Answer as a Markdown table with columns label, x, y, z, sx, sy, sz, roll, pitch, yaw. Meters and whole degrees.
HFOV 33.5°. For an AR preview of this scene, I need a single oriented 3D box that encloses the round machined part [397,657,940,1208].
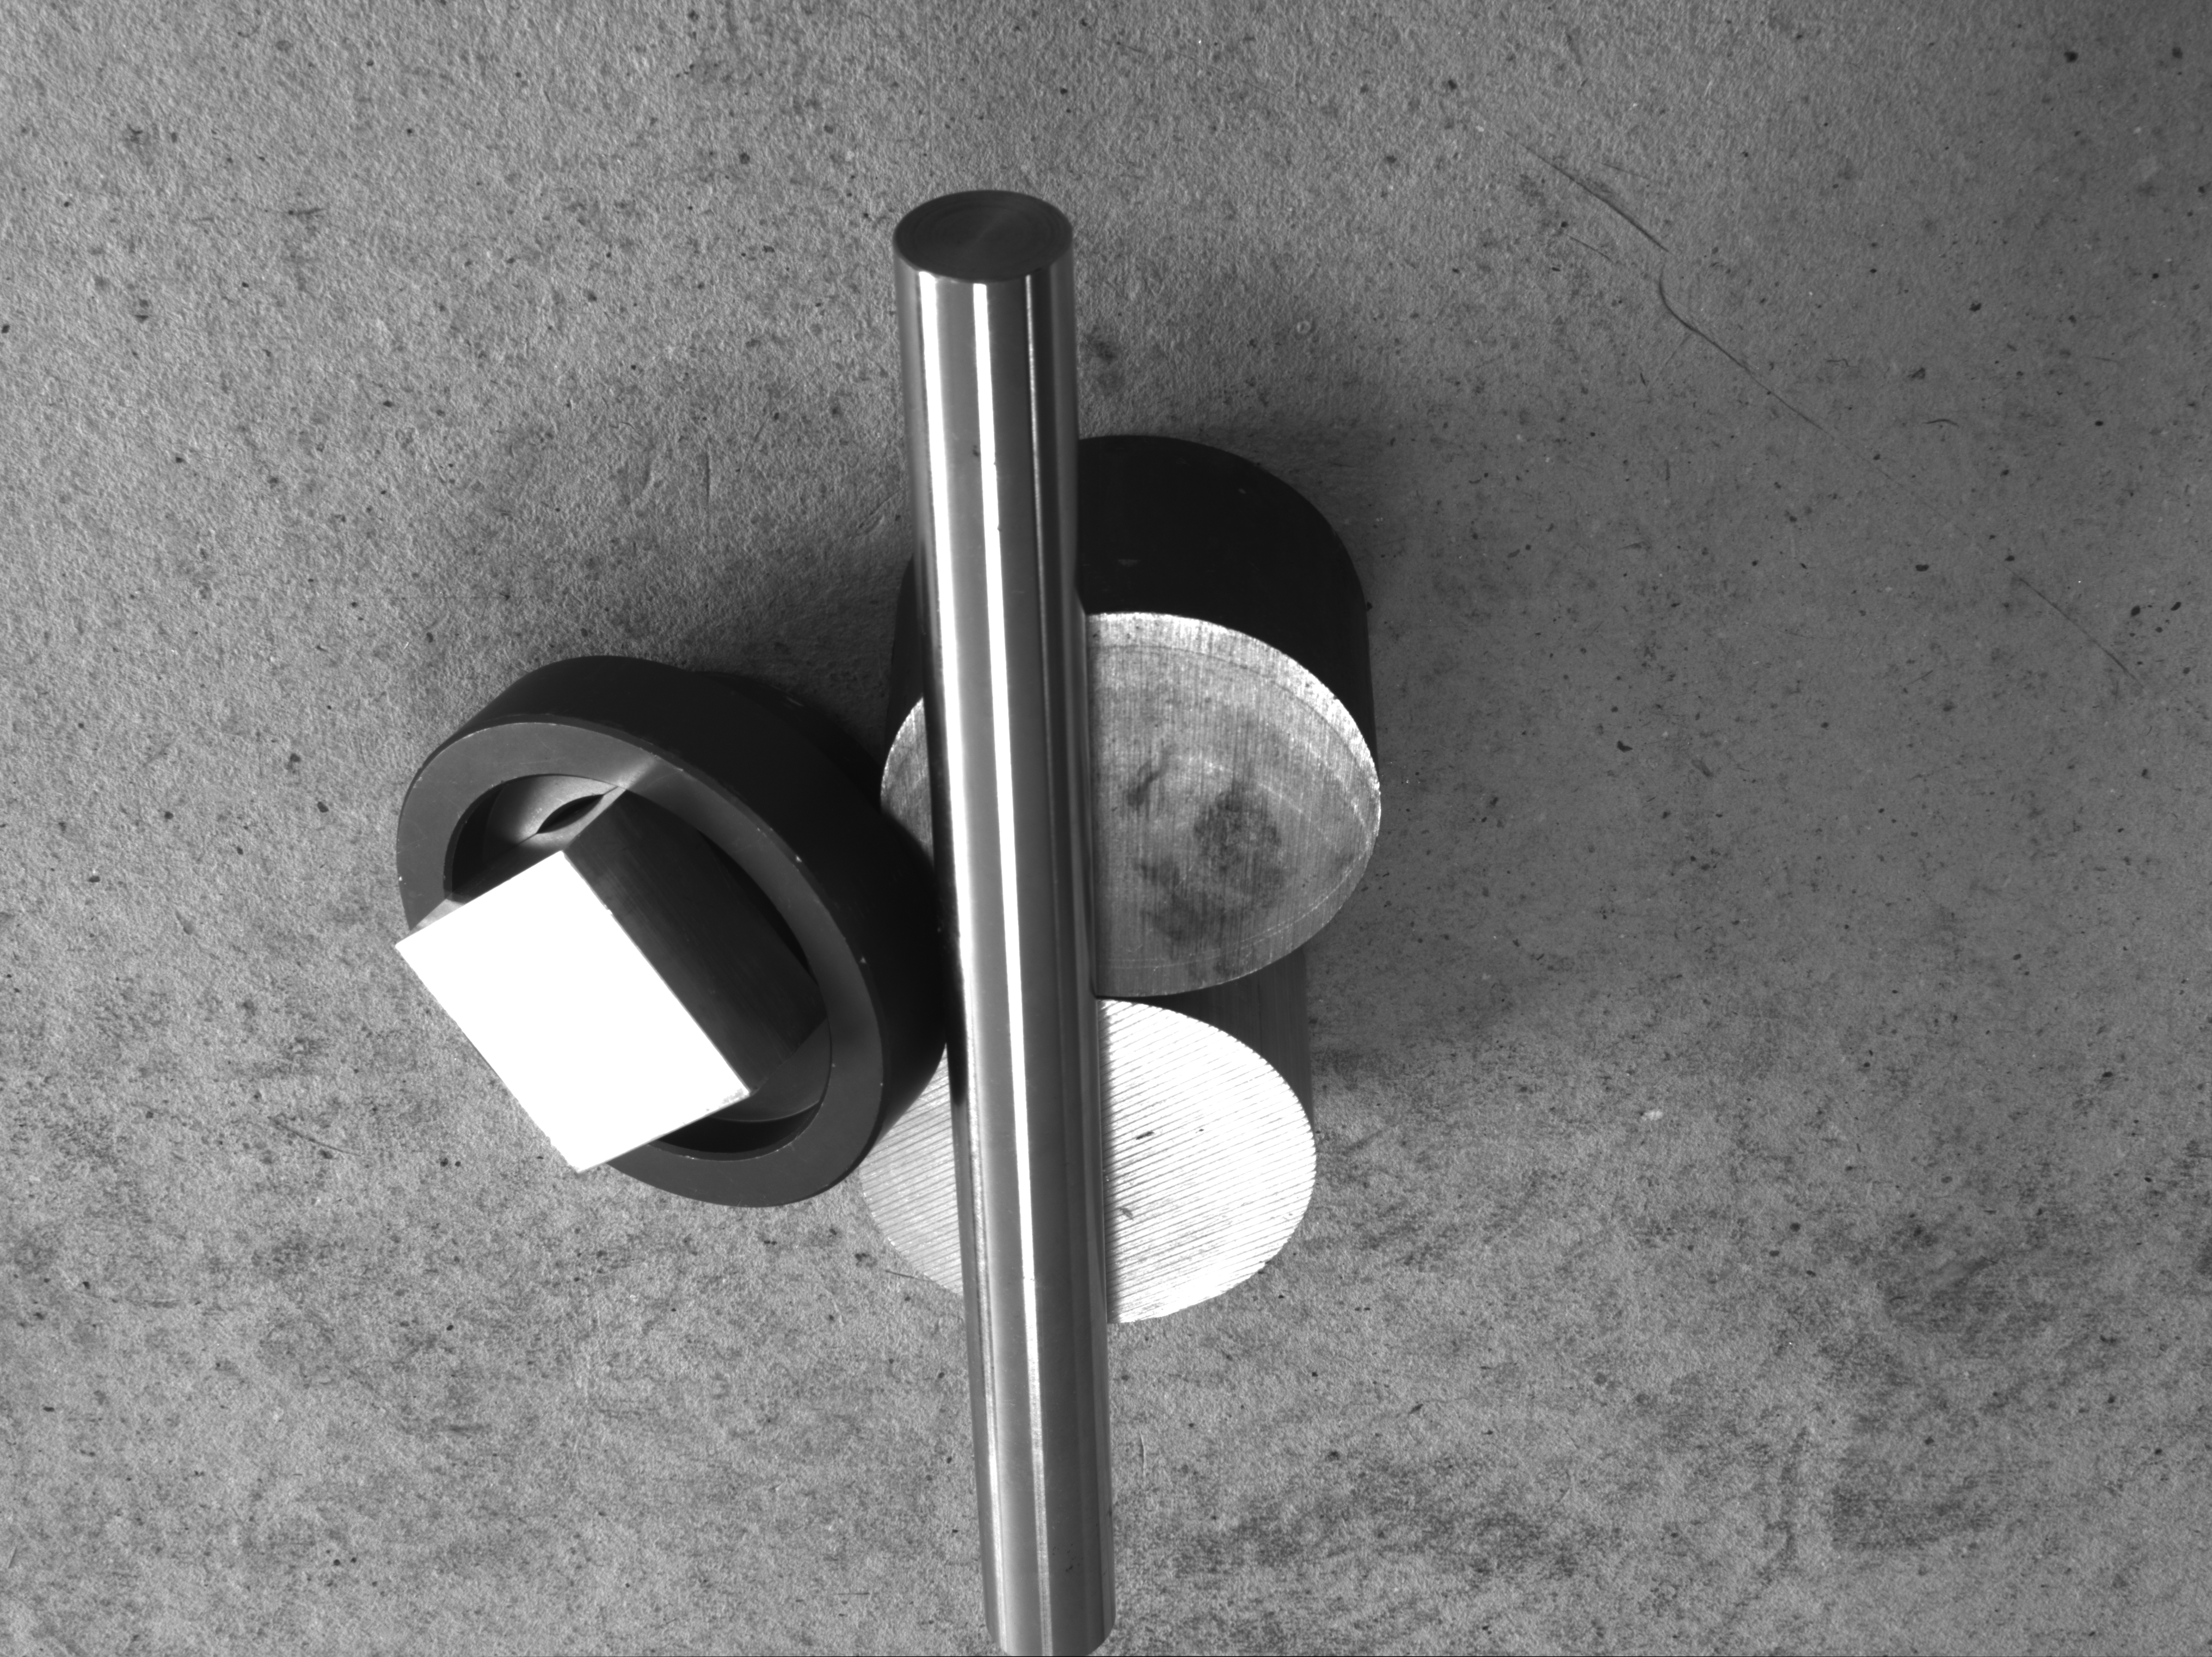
| label | x | y | z | sx | sy | sz | roll | pitch | yaw |
| --- | --- | --- | --- | --- | --- | --- | --- | --- | --- |
| round machined part | -0.068 | 0.013 | 0.623 | 0.098 | 0.042 | 0.098 | 18 | 131 | 23 |

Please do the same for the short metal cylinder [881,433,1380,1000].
| label | x | y | z | sx | sy | sz | roll | pitch | yaw |
| --- | --- | --- | --- | --- | --- | --- | --- | --- | --- |
| short metal cylinder | 0.004 | -0.018 | 0.609 | 0.080 | 0.050 | 0.080 | 0 | 130 | 0 |

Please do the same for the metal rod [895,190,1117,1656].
| label | x | y | z | sx | sy | sz | roll | pitch | yaw |
| --- | --- | --- | --- | --- | --- | --- | --- | --- | --- |
| metal rod | -0.014 | 0.034 | 0.603 | 0.025 | 0.025 | 0.300 | -1 | 130 | 1 |

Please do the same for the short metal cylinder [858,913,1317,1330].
| label | x | y | z | sx | sy | sz | roll | pitch | yaw |
| --- | --- | --- | --- | --- | --- | --- | --- | --- | --- |
| short metal cylinder | -0.003 | 0.044 | 0.660 | 0.080 | 0.050 | 0.080 | 0 | 129 | 0 |

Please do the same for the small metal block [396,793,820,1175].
| label | x | y | z | sx | sy | sz | roll | pitch | yaw |
| --- | --- | --- | --- | --- | --- | --- | --- | --- | --- |
| small metal block | -0.081 | 0.024 | 0.607 | 0.050 | 0.025 | 0.050 | -25 | 106 | 43 |
